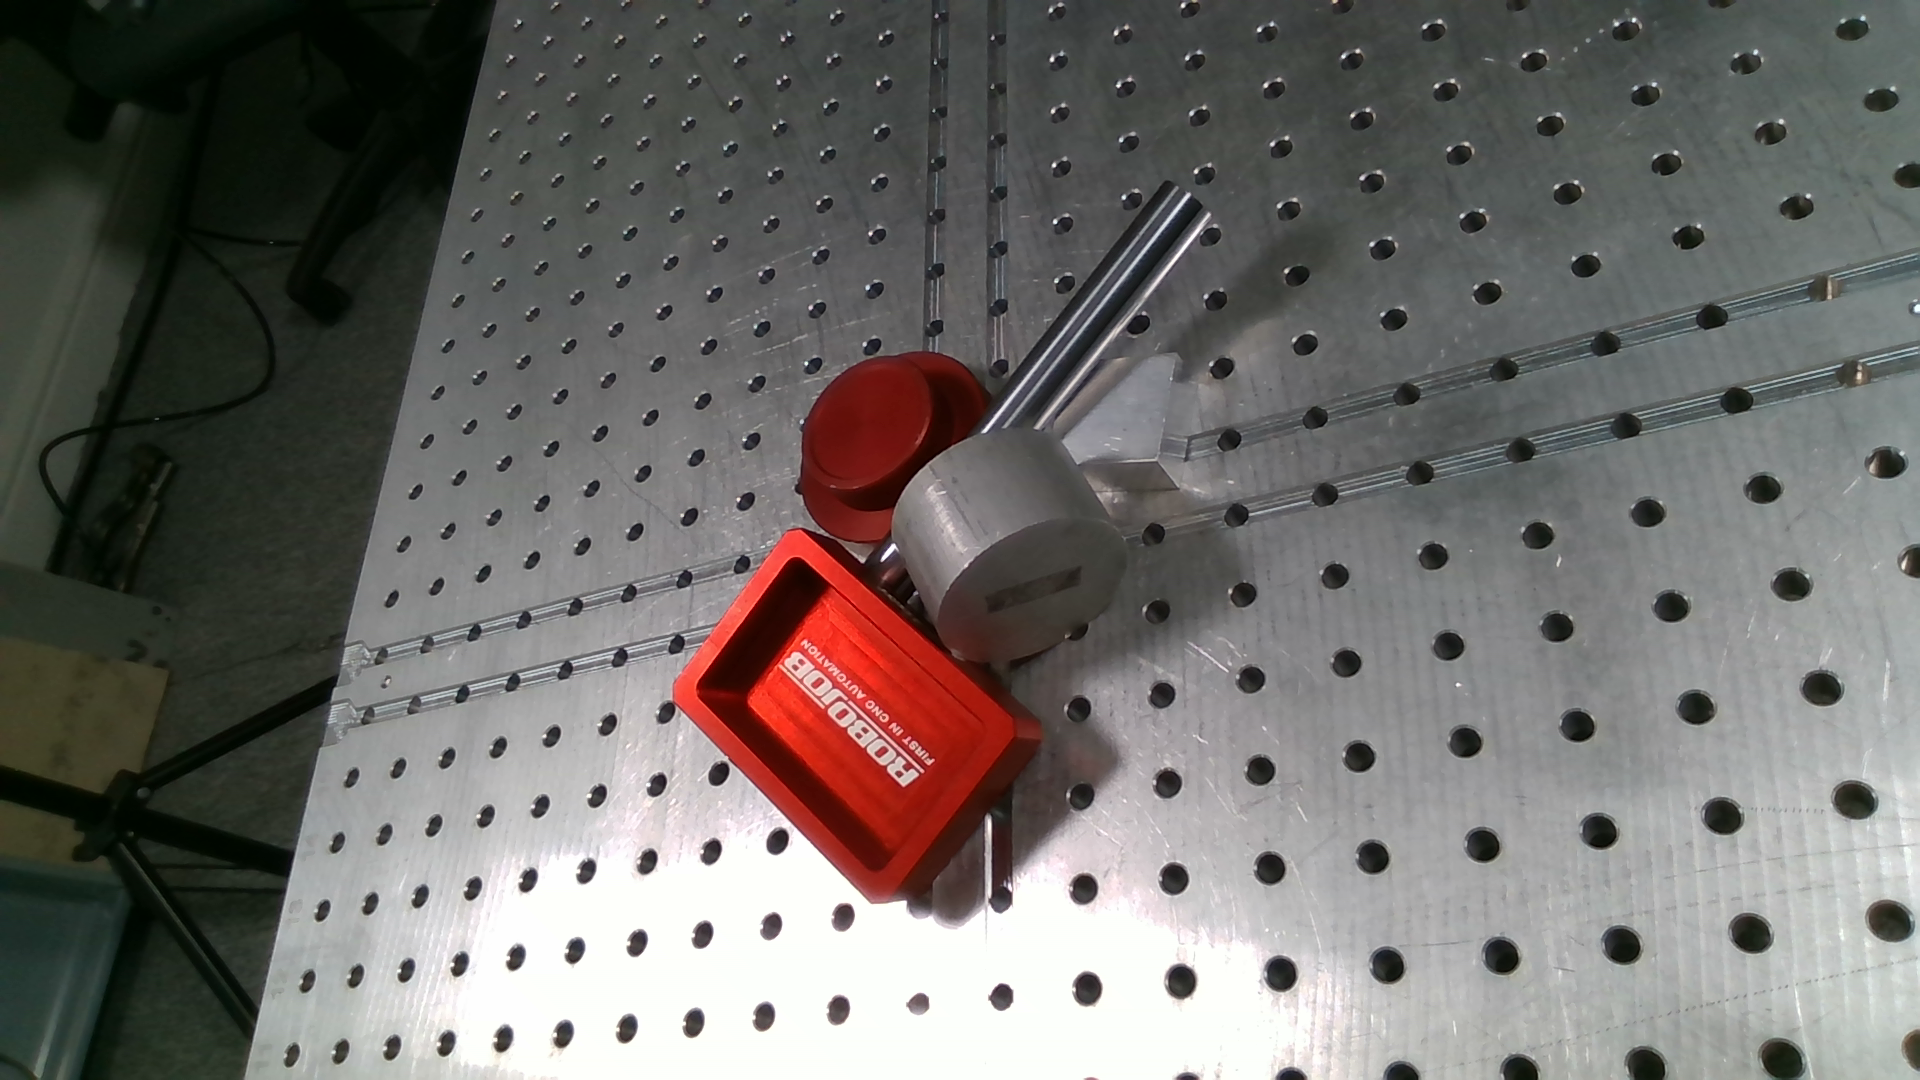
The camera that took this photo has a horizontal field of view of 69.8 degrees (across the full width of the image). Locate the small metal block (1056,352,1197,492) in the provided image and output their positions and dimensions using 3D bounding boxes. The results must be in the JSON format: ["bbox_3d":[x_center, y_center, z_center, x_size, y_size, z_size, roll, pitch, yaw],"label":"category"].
[{"bbox_3d":[0.068,-0.048,0.573,0.050,0.025,0.050,-1,65,31],"label":"small metal block"}]

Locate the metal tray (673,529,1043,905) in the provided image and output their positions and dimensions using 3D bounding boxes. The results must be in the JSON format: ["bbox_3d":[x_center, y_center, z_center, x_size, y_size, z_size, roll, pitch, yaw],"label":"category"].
[{"bbox_3d":[-0.043,0.069,0.548,0.130,0.030,0.090,40,97,24],"label":"metal tray"}]

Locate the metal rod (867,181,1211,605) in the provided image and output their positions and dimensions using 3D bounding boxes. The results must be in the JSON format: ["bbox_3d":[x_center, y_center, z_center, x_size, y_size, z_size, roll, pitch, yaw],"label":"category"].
[{"bbox_3d":[0.001,-0.020,0.577,0.300,0.025,0.025,-52,50,8],"label":"metal rod"}]

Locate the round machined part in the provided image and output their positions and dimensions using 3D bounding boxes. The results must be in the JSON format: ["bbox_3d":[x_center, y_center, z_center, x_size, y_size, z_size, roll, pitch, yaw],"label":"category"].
[{"bbox_3d":[-0.033,-0.044,0.620,0.098,0.042,0.098,-14,59,25],"label":"round machined part"}]

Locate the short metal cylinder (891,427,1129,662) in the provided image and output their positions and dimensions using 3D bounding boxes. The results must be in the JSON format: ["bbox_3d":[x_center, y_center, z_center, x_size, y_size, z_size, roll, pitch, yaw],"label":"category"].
[{"bbox_3d":[0.019,0.003,0.540,0.080,0.080,0.050,-36,52,11],"label":"short metal cylinder"}]
